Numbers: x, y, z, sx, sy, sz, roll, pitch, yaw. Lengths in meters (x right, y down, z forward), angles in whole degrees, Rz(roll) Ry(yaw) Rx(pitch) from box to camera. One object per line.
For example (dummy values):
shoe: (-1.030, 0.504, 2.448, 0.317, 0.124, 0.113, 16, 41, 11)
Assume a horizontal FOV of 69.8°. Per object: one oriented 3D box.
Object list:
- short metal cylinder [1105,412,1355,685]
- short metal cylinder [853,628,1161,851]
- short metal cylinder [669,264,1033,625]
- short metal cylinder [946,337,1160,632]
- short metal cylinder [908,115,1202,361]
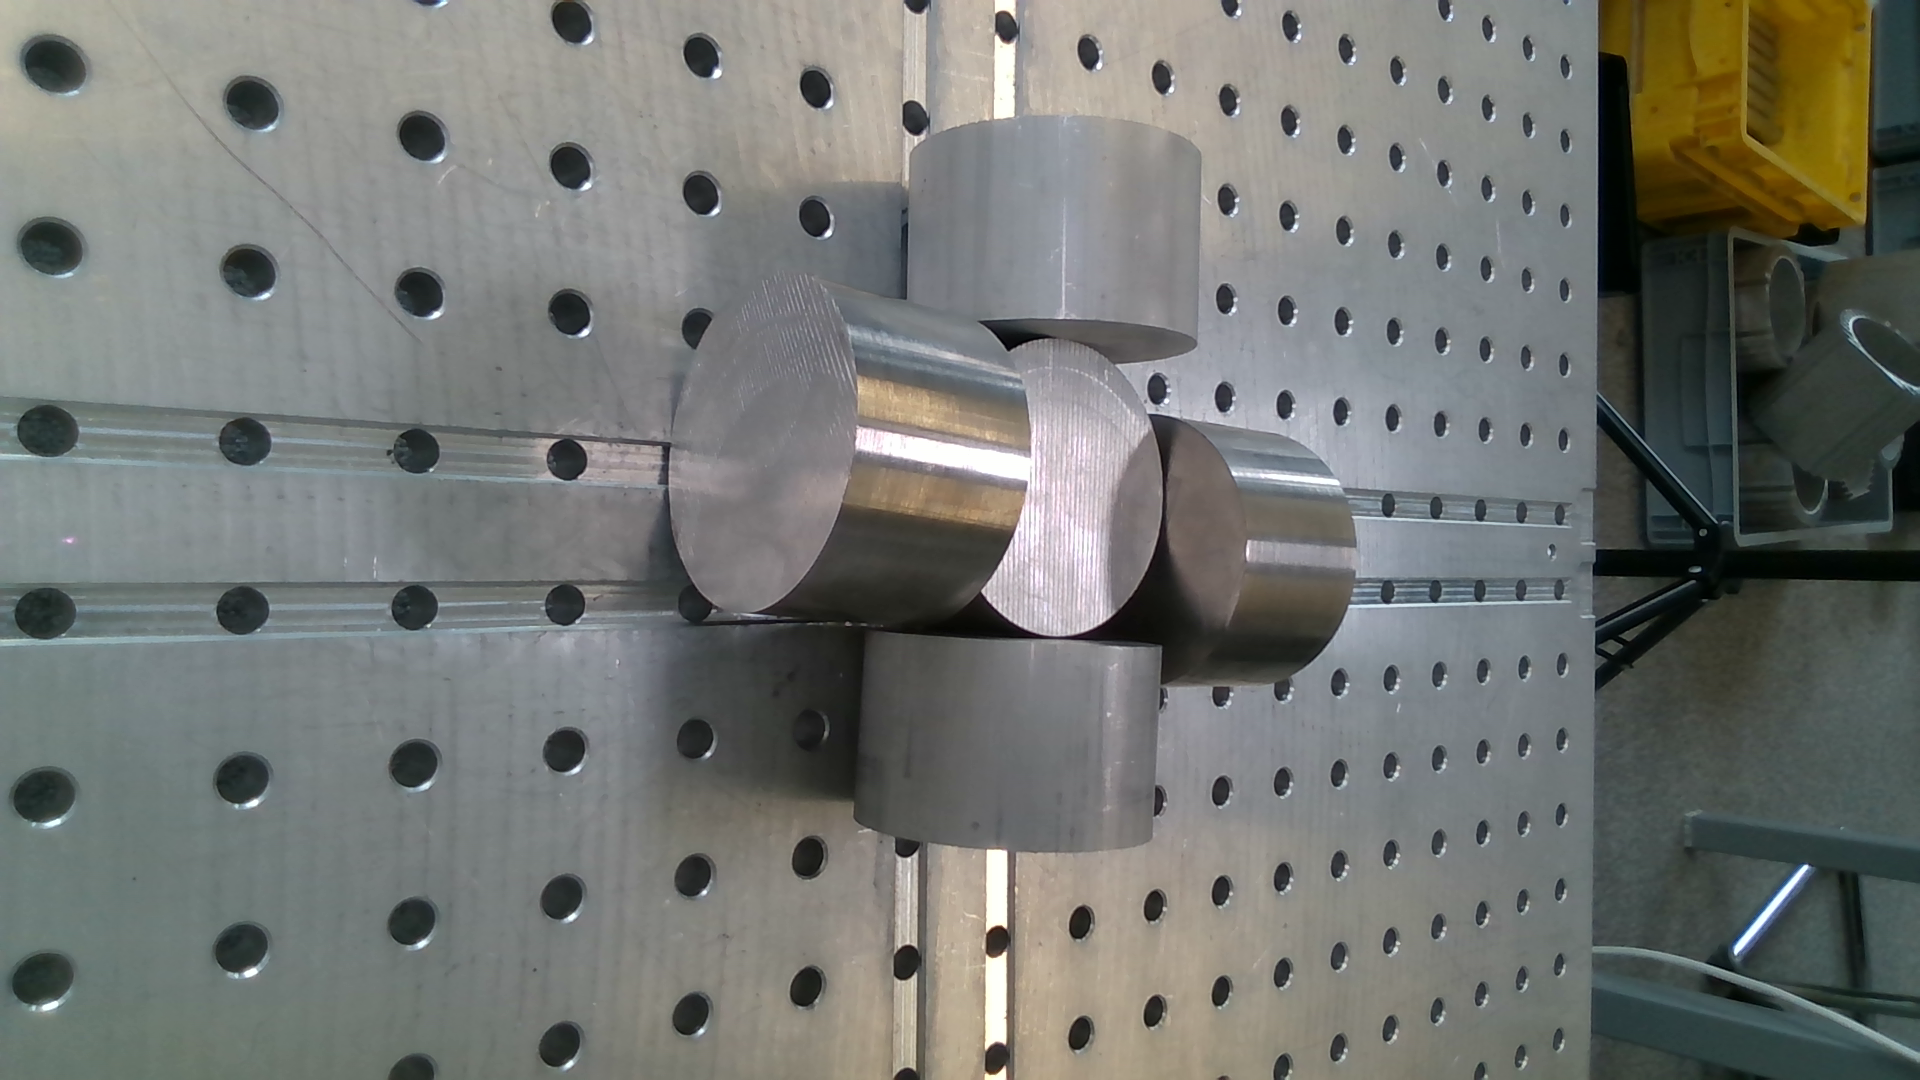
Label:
short metal cylinder: (0.071, 0.004, 0.418, 0.050, 0.080, 0.080, 4, 88, -41)
short metal cylinder: (0.012, 0.051, 0.369, 0.080, 0.080, 0.050, 5, 87, -40)
short metal cylinder: (-0.028, -0.021, 0.333, 0.050, 0.080, 0.080, 8, 85, -40)
short metal cylinder: (0.011, -0.015, 0.387, 0.080, 0.050, 0.080, -1, 92, -40)
short metal cylinder: (0.025, -0.079, 0.379, 0.080, 0.080, 0.050, 2, 89, -40)
